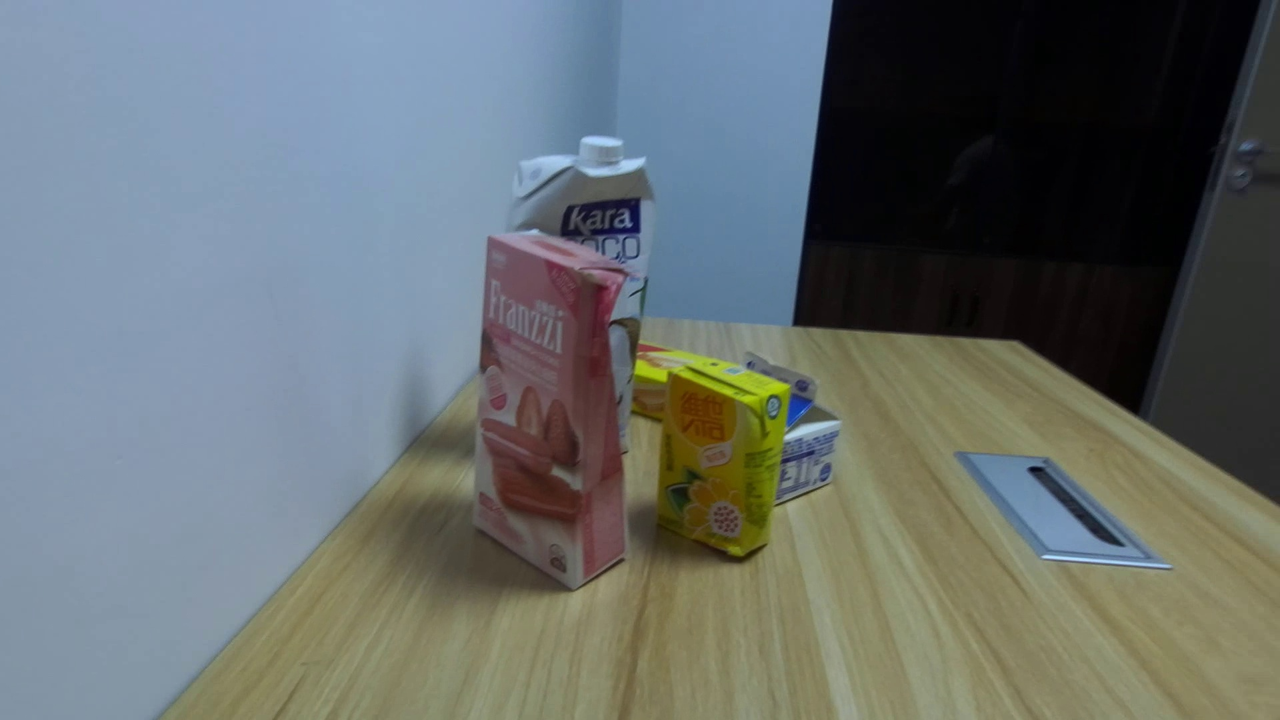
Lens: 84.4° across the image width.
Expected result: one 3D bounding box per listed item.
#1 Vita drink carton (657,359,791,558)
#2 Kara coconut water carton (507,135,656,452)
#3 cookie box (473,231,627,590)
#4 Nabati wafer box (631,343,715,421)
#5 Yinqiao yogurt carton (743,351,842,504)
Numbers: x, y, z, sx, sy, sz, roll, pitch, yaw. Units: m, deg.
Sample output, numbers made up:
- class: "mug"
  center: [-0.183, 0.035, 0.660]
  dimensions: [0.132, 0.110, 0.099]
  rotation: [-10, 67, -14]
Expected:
- class: "Vita drink carton"
  center: [0.052, 0.062, 0.434]
  dimensions: [0.043, 0.109, 0.076]
  rotation: [-14, 25, -40]
- class: "Kara coconut water carton"
  center: [-0.044, -0.040, 0.524]
  dimensions: [0.116, 0.238, 0.069]
  rotation: [-13, 24, -41]
- class: "cookie box"
  center: [-0.048, 0.027, 0.403]
  dimensions: [0.056, 0.184, 0.118]
  rotation: [-12, 24, -41]
- class: "Nabati wafer box"
  center: [0.006, 0.016, 0.682]
  dimensions: [0.202, 0.042, 0.093]
  rotation: [12, 21, 29]
- class: "Yinqiao yogurt carton"
  center: [0.099, 0.045, 0.523]
  dimensions: [0.074, 0.092, 0.075]
  rotation: [-11, 24, -38]
